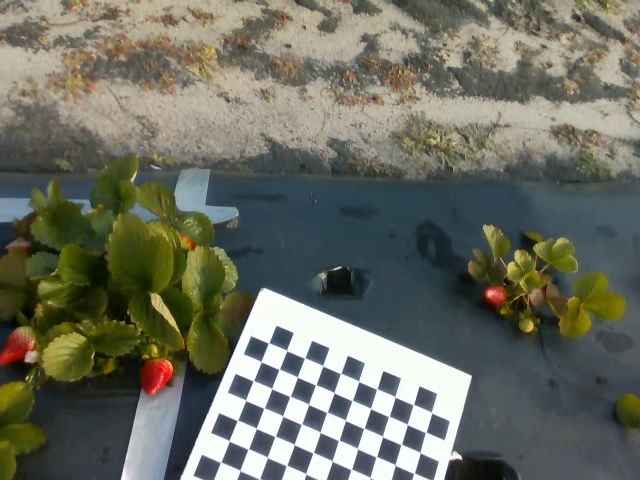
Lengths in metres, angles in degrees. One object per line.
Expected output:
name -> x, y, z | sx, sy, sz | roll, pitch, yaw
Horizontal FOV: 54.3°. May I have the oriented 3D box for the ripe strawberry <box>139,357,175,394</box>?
ripe strawberry -> -0.181, 0.153, 0.682 | 0.050, 0.055, 0.036 | 19, -39, -7
